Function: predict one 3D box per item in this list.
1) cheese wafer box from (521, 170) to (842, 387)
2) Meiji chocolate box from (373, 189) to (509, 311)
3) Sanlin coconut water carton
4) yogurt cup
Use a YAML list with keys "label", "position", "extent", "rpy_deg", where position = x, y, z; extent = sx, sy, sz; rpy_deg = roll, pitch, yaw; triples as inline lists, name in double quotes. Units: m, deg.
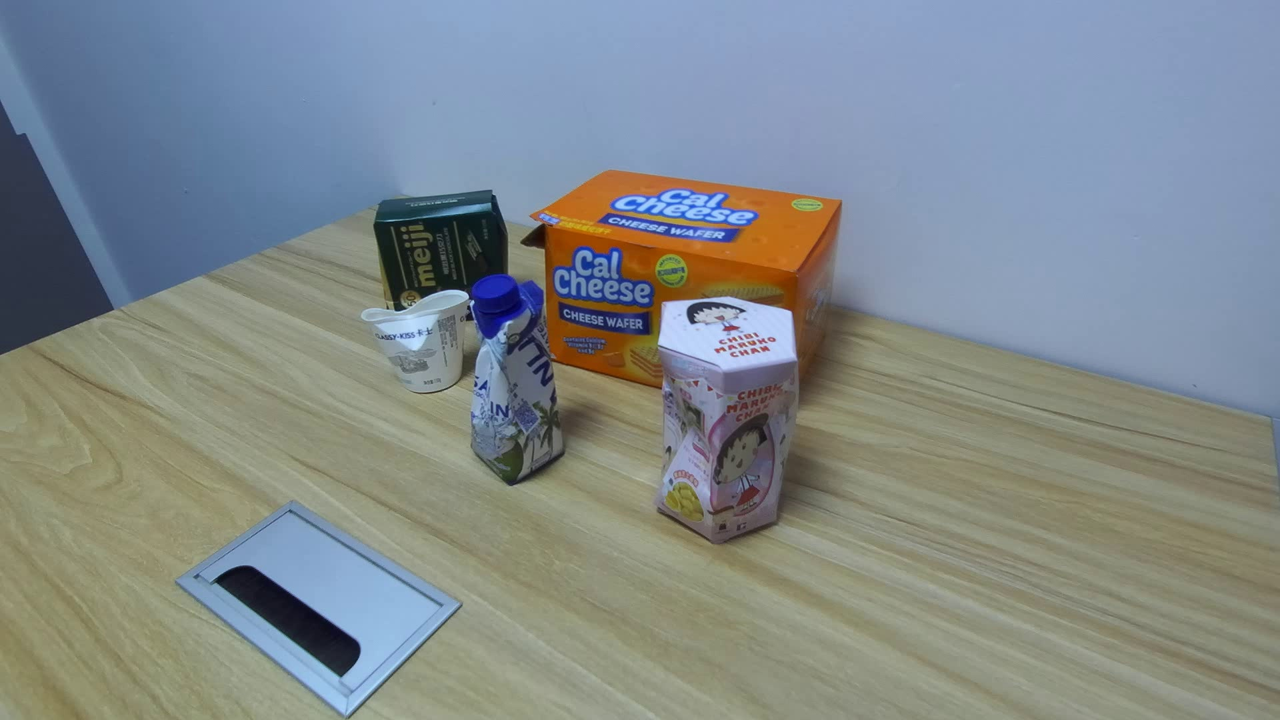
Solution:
- label: "cheese wafer box"
  position: [0.040, -0.068, 0.597]
  extent: [0.226, 0.137, 0.150]
  rpy_deg: [14, 37, 22]
- label: "Meiji chocolate box"
  position: [-0.184, -0.097, 0.671]
  extent: [0.122, 0.116, 0.058]
  rpy_deg: [-5, 33, -5]
- label: "Sanlin coconut water carton"
  position: [-0.080, 0.010, 0.483]
  extent: [0.069, 0.144, 0.056]
  rpy_deg: [-22, 43, -41]
- label: "yogurt cup"
  position: [-0.181, -0.016, 0.590]
  extent: [0.053, 0.071, 0.075]
  rpy_deg: [24, 41, 35]
